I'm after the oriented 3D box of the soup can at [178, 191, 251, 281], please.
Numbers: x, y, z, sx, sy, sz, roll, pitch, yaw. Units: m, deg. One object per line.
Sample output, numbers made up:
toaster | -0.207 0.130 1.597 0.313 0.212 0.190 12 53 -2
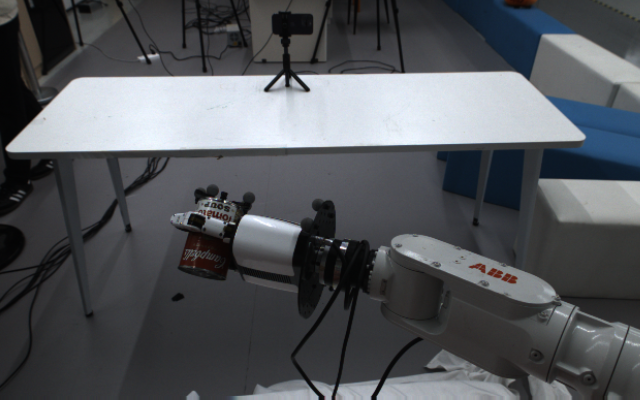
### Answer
soup can | -0.151 0.055 0.674 0.067 0.067 0.101 9 71 9
